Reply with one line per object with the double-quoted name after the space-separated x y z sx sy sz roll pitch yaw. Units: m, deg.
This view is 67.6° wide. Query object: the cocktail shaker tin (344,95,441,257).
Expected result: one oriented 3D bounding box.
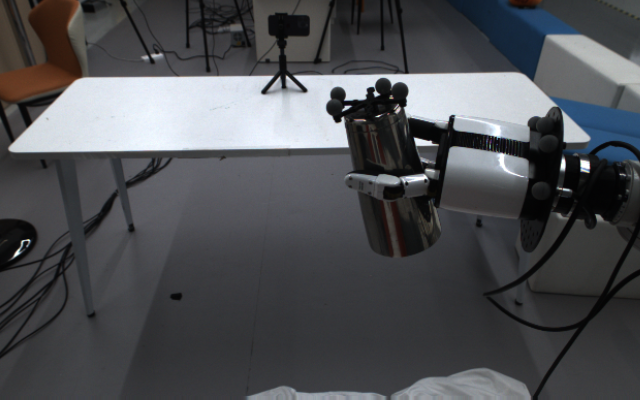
0.082 -0.028 0.565 0.093 0.170 0.093 -15 29 8 "cocktail shaker tin"
